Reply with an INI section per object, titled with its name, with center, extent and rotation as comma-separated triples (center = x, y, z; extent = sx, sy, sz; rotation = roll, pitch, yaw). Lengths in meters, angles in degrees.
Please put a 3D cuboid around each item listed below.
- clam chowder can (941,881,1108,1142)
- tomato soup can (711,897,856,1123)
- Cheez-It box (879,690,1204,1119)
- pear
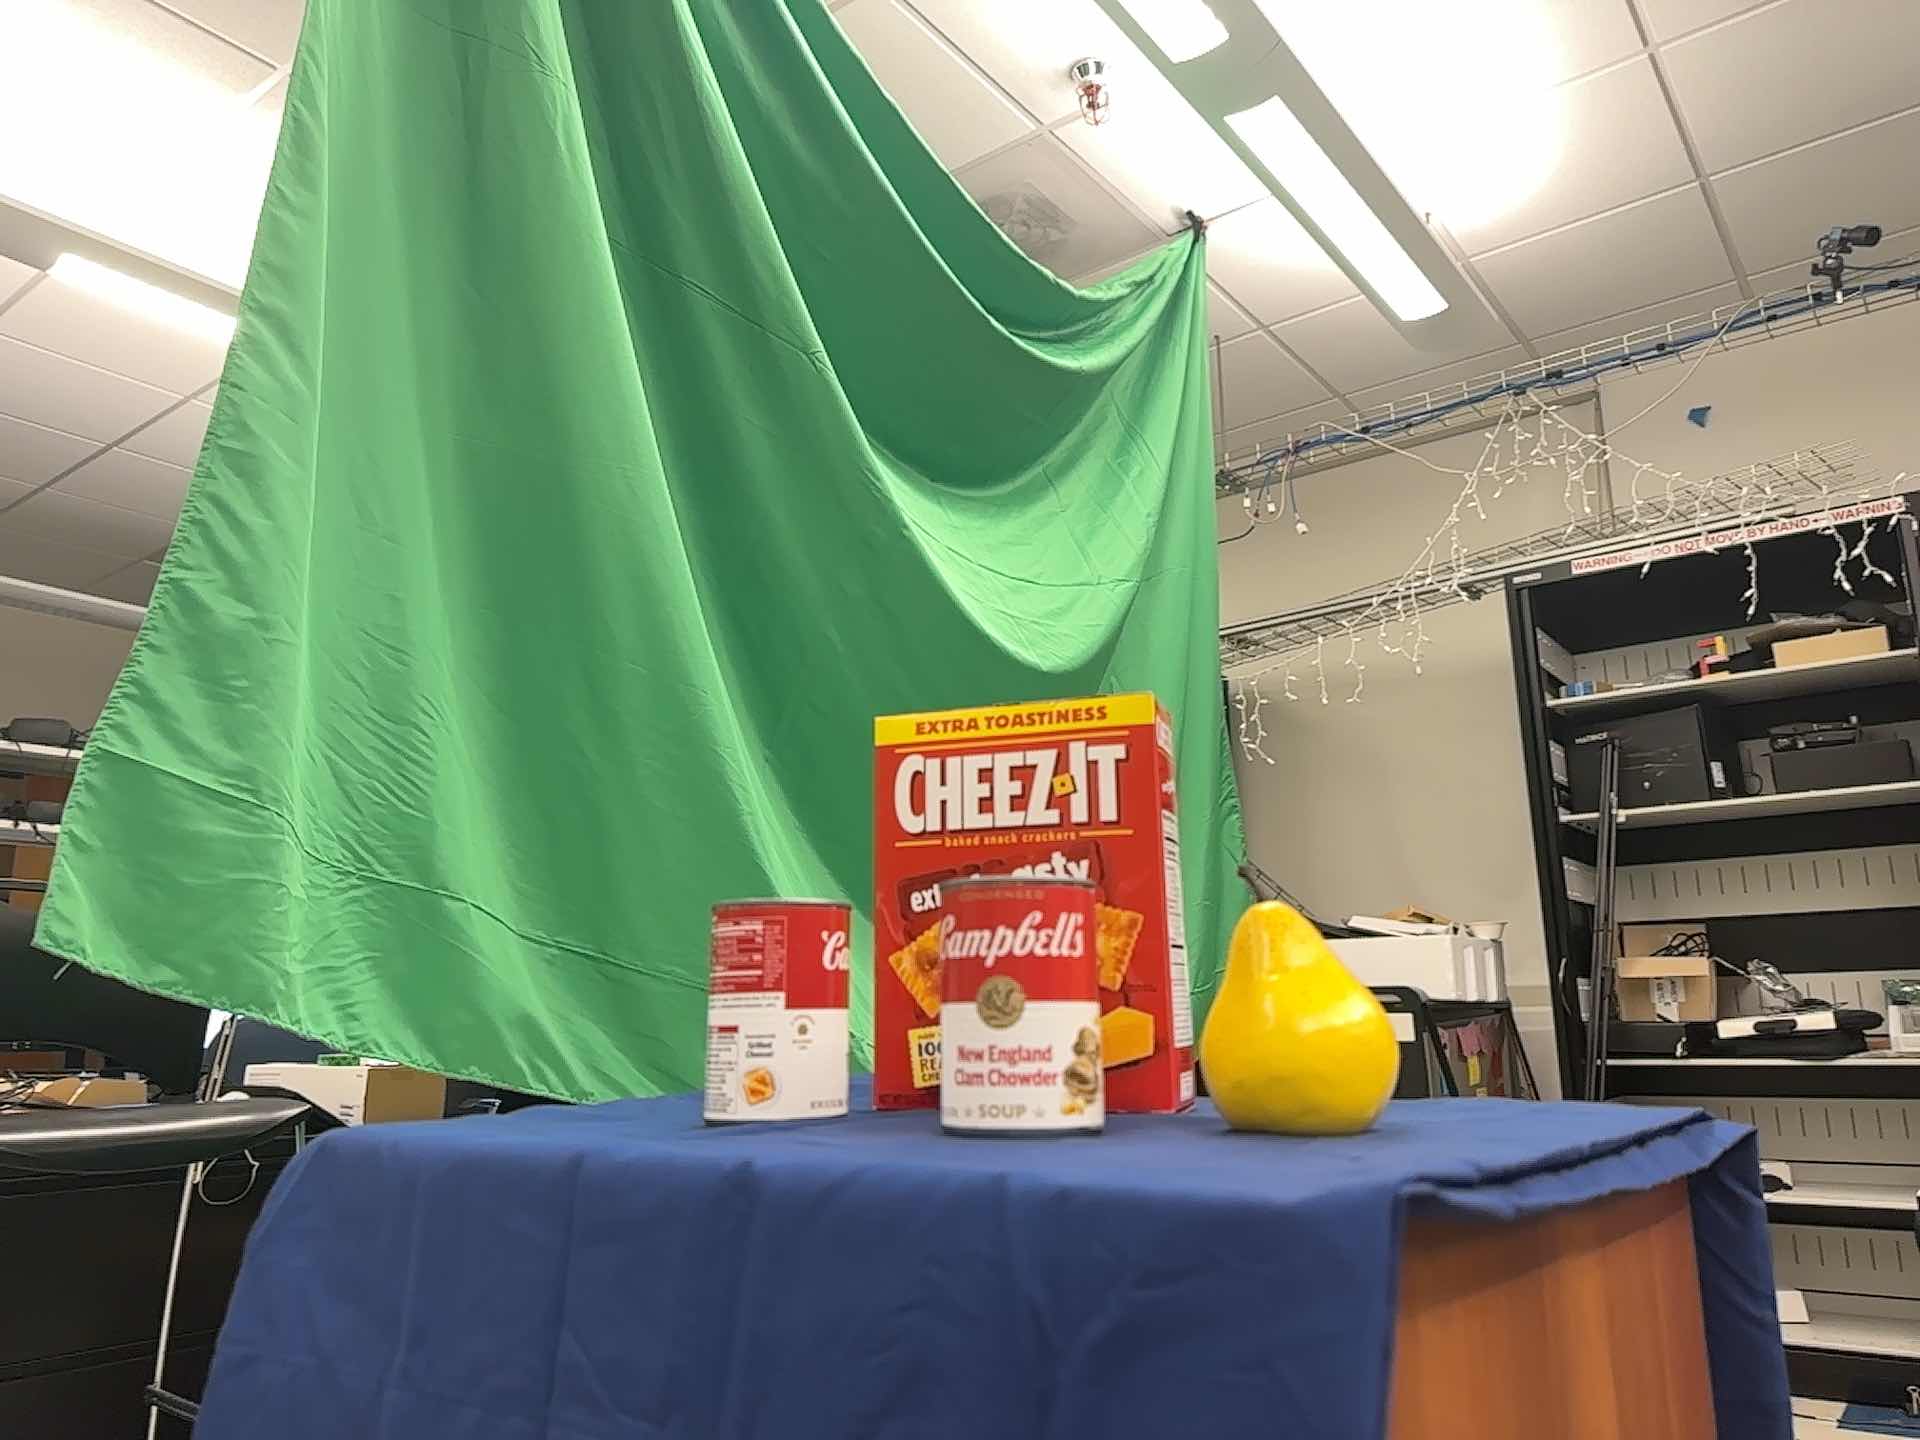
[clam chowder can]
center = 0.026, 0.122, 0.565
extent = 0.068, 0.102, 0.068
rotation = -1, -12, 0
[tomato soup can]
center = -0.084, 0.138, 0.641
extent = 0.067, 0.102, 0.067
rotation = 0, -13, 0
[Cheez-It box]
center = 0.042, 0.103, 0.744
extent = 0.159, 0.214, 0.062
rotation = -5, -12, 19
[pear]
center = 0.138, 0.114, 0.549
extent = 0.080, 0.111, 0.080
rotation = 0, -10, 0
